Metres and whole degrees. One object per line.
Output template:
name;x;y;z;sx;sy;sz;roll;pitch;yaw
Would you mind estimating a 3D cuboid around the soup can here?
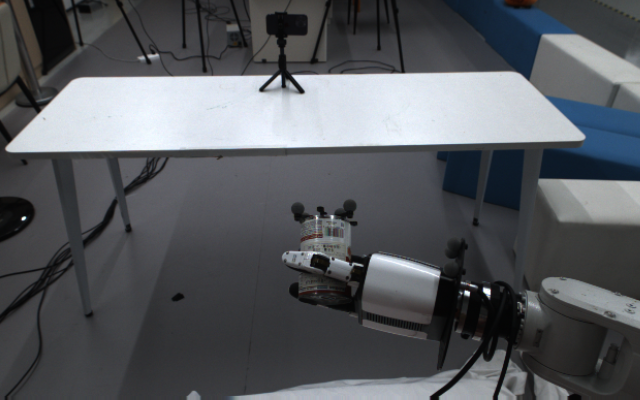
soup can;0.009;0.078;0.616;0.067;0.067;0.101;1;69;-1
